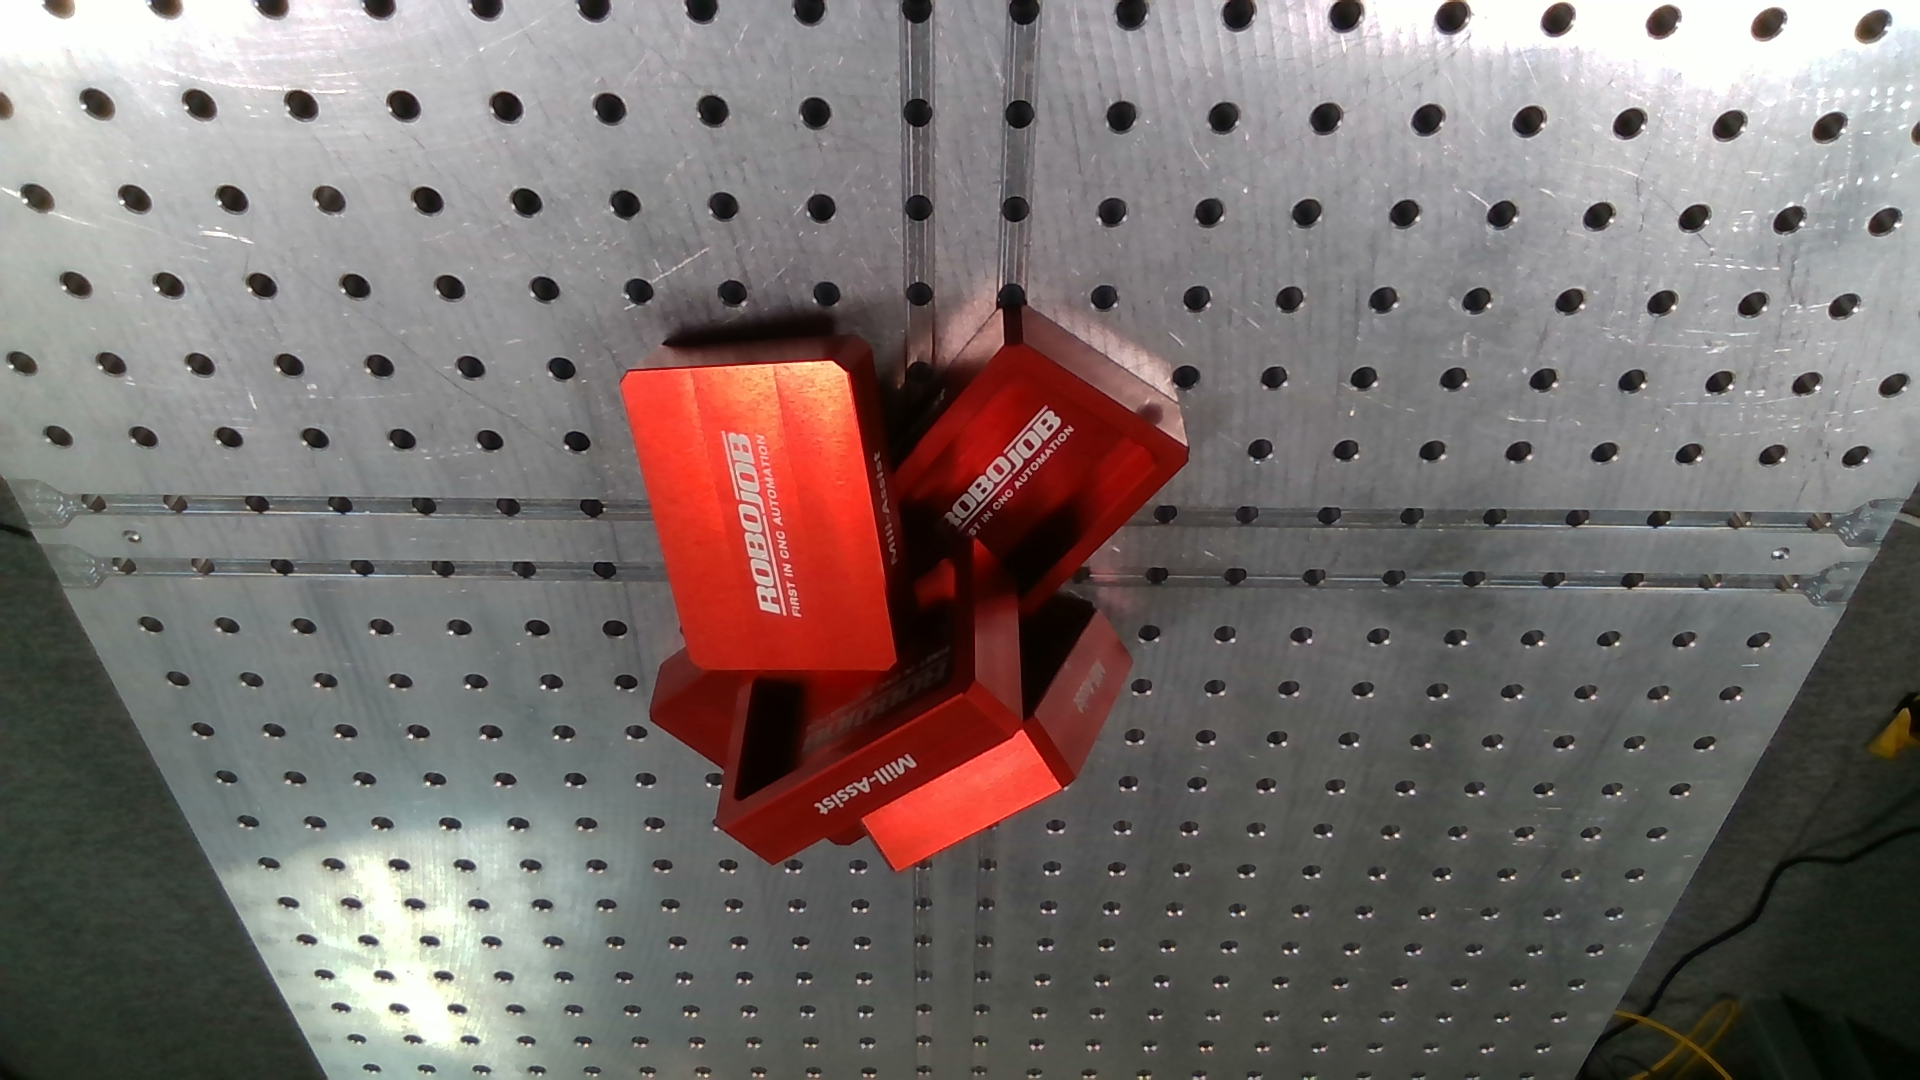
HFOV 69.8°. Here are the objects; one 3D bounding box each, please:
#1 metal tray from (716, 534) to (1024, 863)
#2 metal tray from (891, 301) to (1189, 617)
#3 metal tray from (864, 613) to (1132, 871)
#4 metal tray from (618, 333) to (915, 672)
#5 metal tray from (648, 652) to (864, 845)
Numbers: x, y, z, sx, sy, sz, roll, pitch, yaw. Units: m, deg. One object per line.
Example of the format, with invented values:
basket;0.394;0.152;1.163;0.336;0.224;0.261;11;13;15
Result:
metal tray;-0.036;0.063;0.553;0.130;0.090;0.030;-31;123;24
metal tray;0.017;-0.023;0.559;0.090;0.030;0.130;29;124;-22
metal tray;0.018;0.081;0.582;0.090;0.130;0.030;-31;95;24
metal tray;-0.073;-0.012;0.538;0.090;0.030;0.130;-1;116;15
metal tray;-0.068;0.086;0.649;0.090;0.030;0.130;-34;122;25
